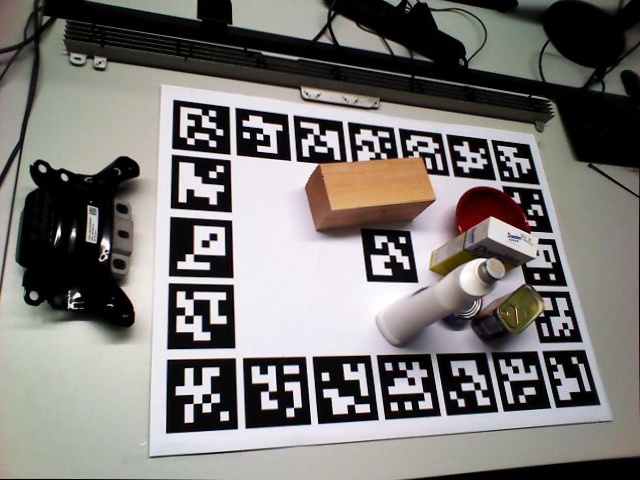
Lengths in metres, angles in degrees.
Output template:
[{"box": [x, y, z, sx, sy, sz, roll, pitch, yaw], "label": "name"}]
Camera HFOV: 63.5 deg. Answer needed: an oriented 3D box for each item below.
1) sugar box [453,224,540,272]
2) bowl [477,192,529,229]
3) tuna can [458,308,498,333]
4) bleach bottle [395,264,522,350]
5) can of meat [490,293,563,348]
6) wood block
[{"box": [0.309, 0.037, 0.875, 0.093, 0.177, 0.045, 22, 64, -6], "label": "sugar box"}, {"box": [0.359, -0.010, 0.985, 0.161, 0.055, 0.161, 6, 66, -13], "label": "bowl"}, {"box": [0.270, 0.119, 0.907, 0.085, 0.034, 0.085, 6, 69, -16], "label": "tuna can"}, {"box": [0.210, 0.095, 0.776, 0.102, 0.252, 0.068, -23, 76, -26], "label": "bleach bottle"}, {"box": [0.358, 0.141, 0.908, 0.101, 0.084, 0.058, -28, 76, -29], "label": "can of meat"}, {"box": [0.115, -0.073, 0.910, 0.206, 0.090, 0.090, -6, 74, -22], "label": "wood block"}]
